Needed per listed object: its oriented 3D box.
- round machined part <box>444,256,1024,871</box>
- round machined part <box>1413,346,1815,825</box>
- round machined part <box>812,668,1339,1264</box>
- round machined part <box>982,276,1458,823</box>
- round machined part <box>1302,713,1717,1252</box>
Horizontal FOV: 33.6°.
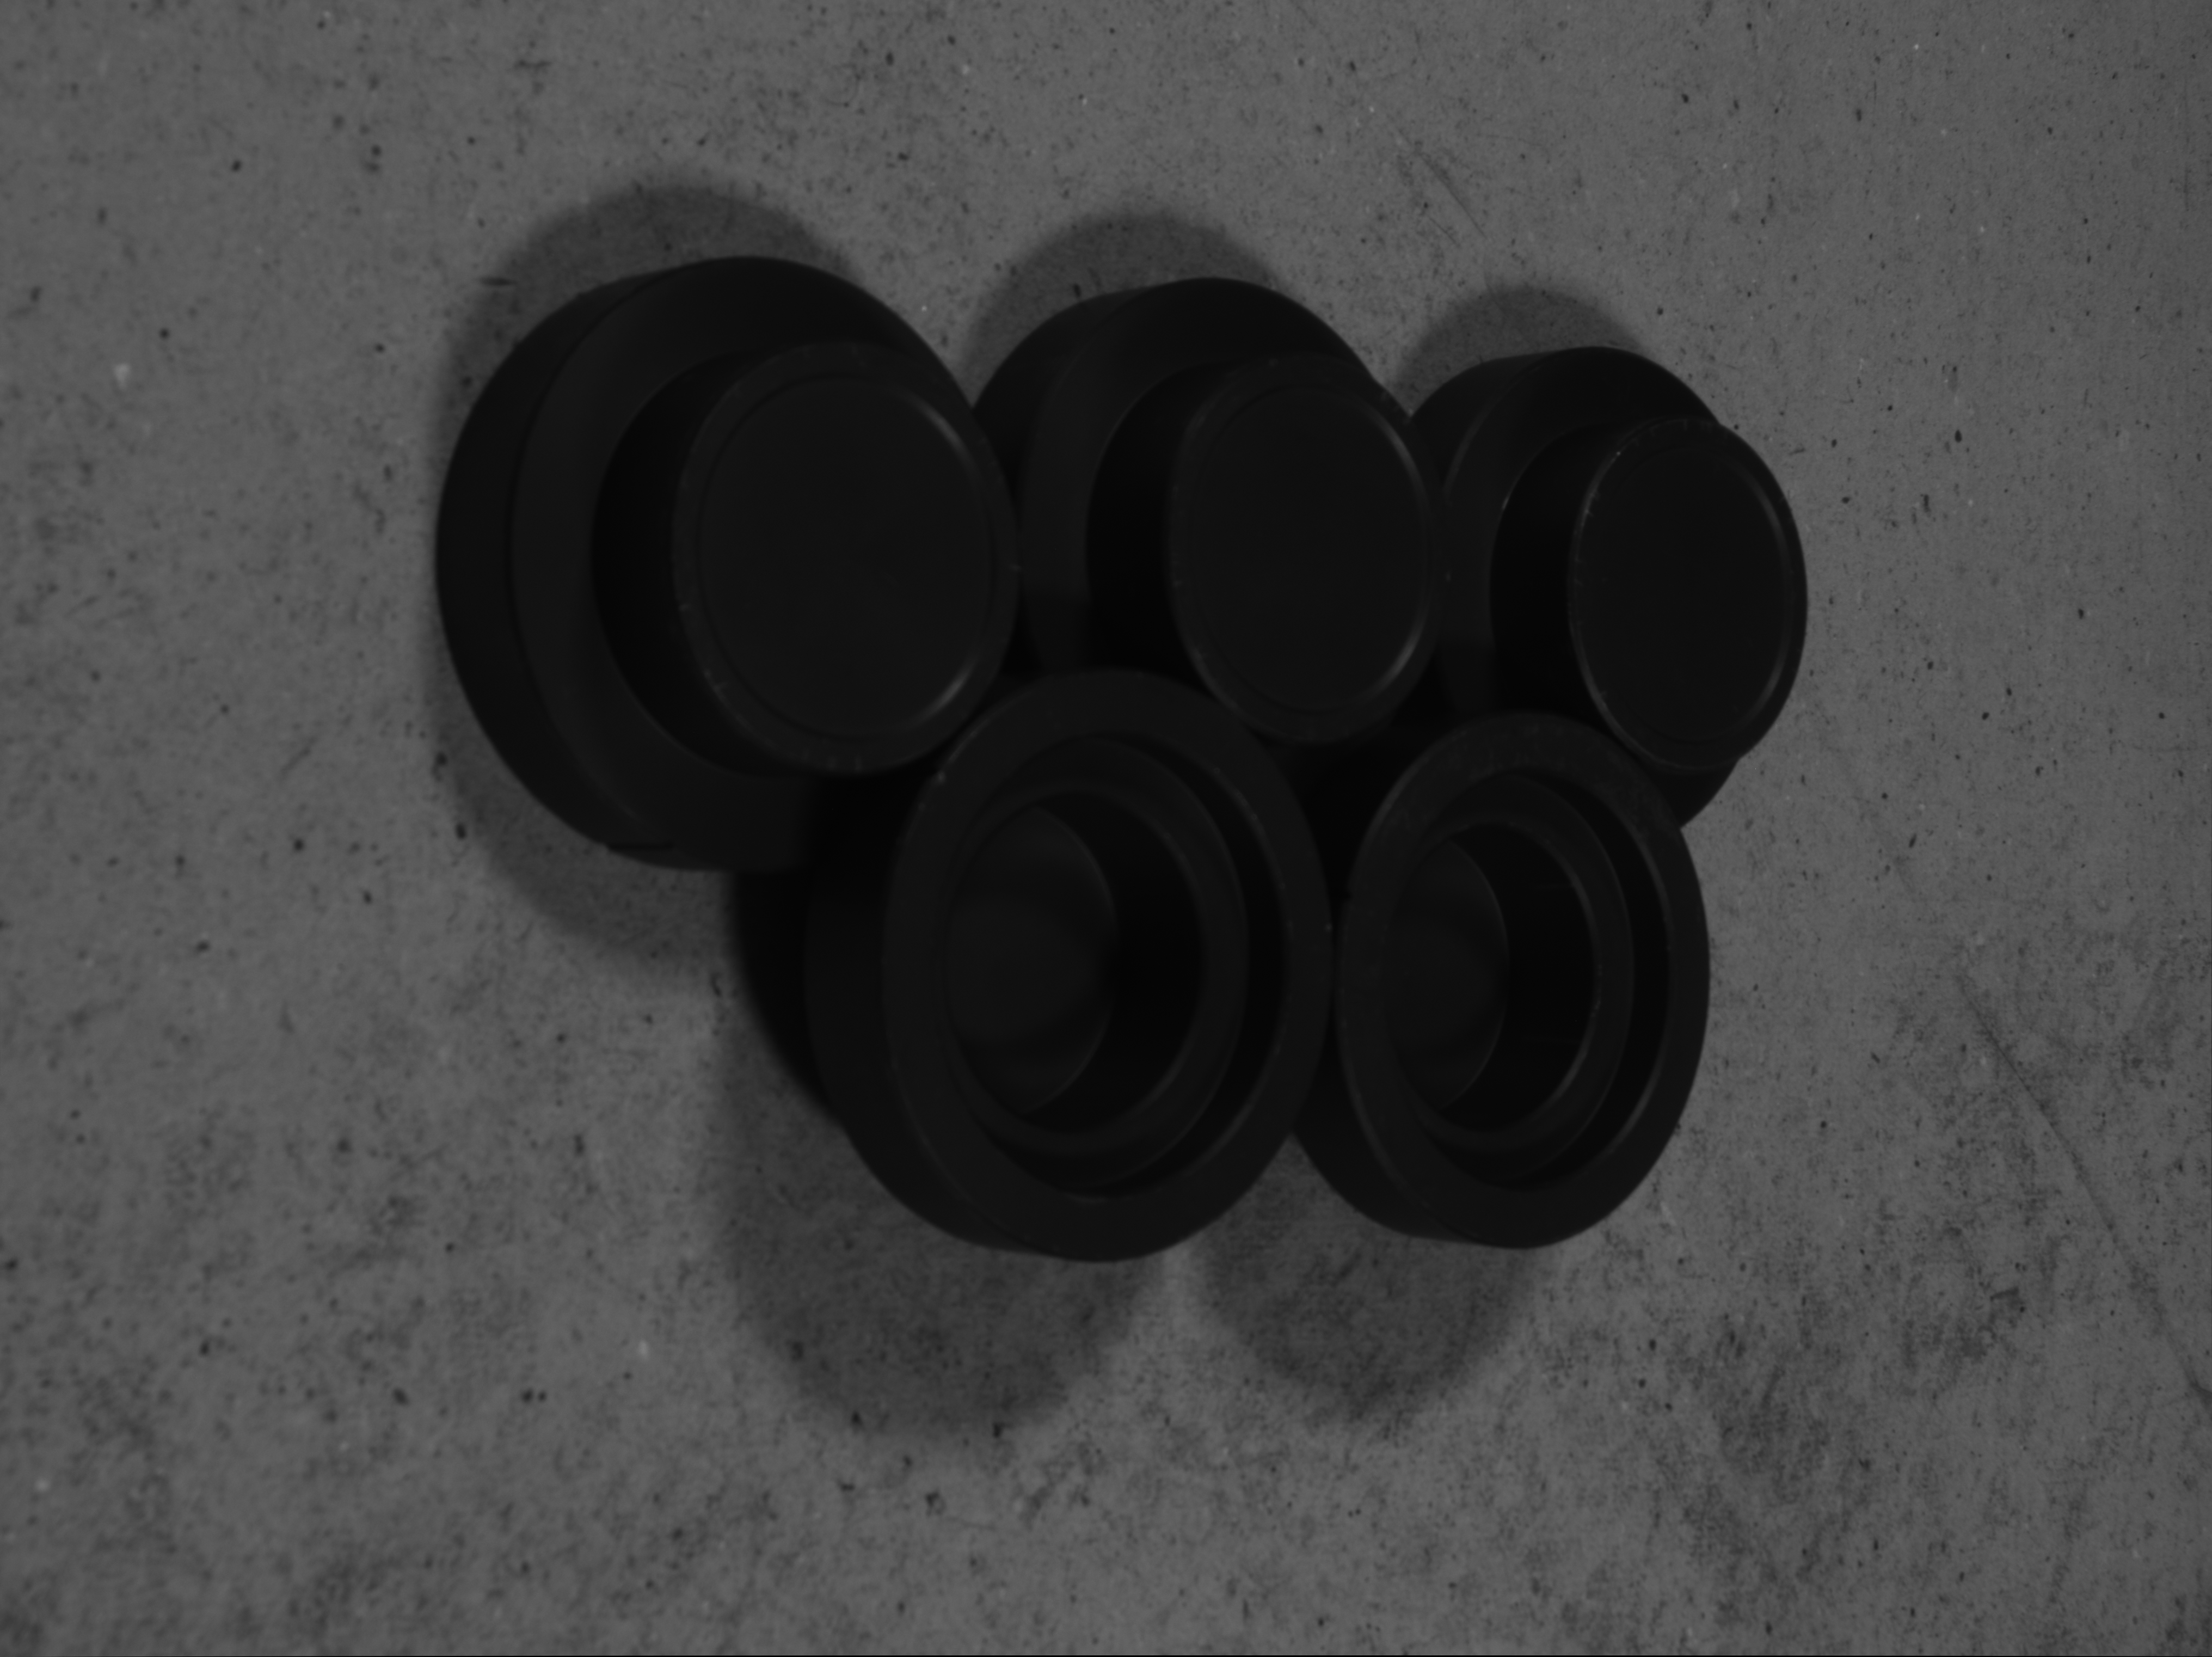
[{"bbox_3d":[-0.052,-0.042,0.583,0.098,0.042,0.098,0,90,-40],"label":"round machined part"},{"bbox_3d":[0.100,-0.044,0.710,0.098,0.042,0.098,0,90,-40],"label":"round machined part"},{"bbox_3d":[-0.010,0.023,0.618,0.098,0.042,0.098,0,90,-40],"label":"round machined part"},{"bbox_3d":[0.024,-0.048,0.646,0.098,0.042,0.098,0,90,-40],"label":"round machined part"},{"bbox_3d":[0.066,0.028,0.681,0.098,0.042,0.098,0,90,-40],"label":"round machined part"}]
